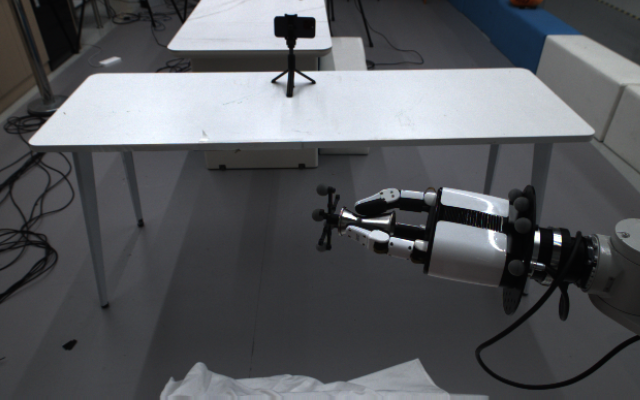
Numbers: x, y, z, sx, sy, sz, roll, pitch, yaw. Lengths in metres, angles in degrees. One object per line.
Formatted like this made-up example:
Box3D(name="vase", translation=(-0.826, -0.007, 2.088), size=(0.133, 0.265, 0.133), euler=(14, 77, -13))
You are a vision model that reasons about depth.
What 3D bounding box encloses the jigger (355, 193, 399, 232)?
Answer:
Box3D(name="jigger", translation=(0.068, 0.029, 0.633), size=(0.071, 0.043, 0.043), euler=(7, 35, 16))
